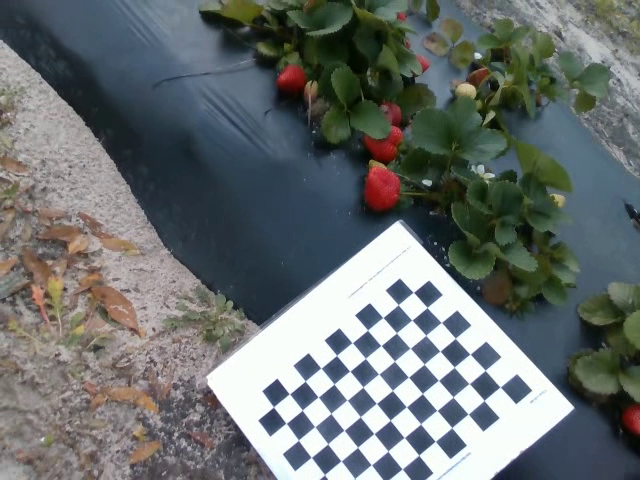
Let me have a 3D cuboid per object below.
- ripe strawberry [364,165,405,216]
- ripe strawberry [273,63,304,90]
[{"bbox_3d":[0.072,-0.074,0.822,0.057,0.056,0.064,4,-15,26],"label":"ripe strawberry"},{"bbox_3d":[-0.040,-0.225,0.890,0.043,0.041,0.051,29,33,18],"label":"ripe strawberry"}]
